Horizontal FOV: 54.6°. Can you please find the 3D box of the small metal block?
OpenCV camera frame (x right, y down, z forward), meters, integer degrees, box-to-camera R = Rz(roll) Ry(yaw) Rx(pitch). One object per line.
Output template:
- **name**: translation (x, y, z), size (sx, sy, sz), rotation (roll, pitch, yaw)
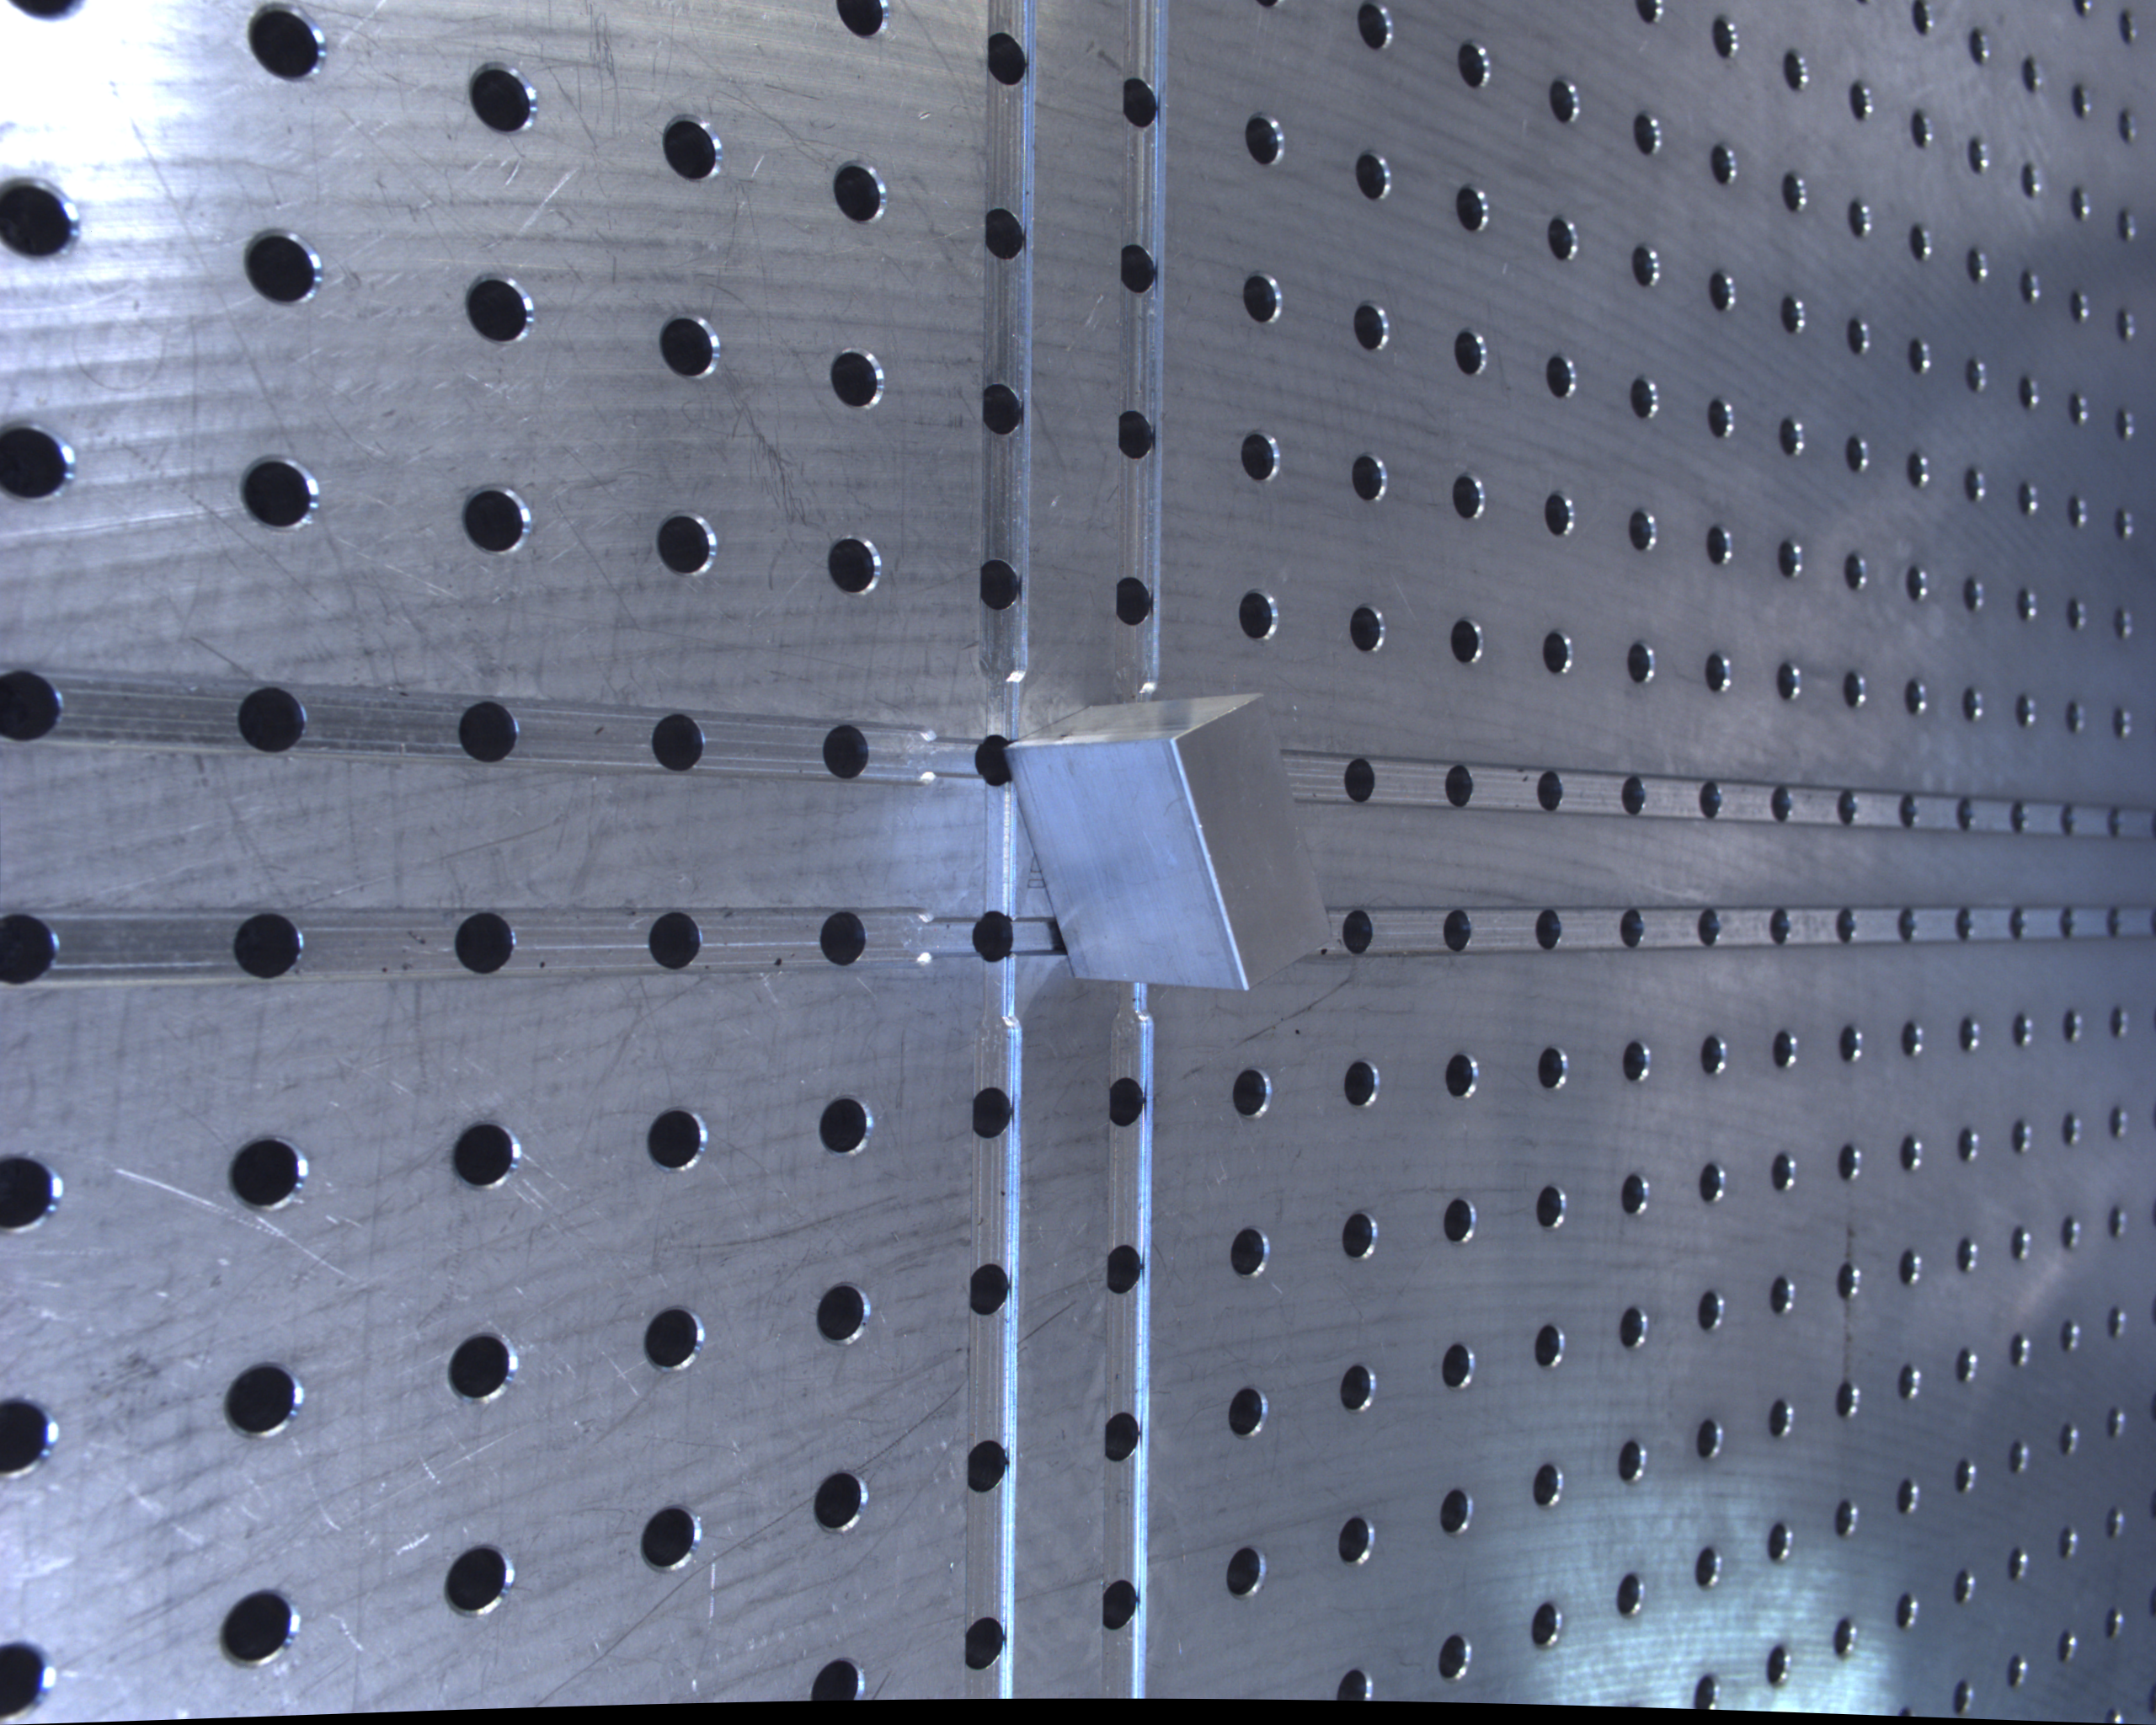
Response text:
- **small metal block**: translation (0.017, -0.004, 0.406), size (0.025, 0.050, 0.050), rotation (-28, 108, -36)
